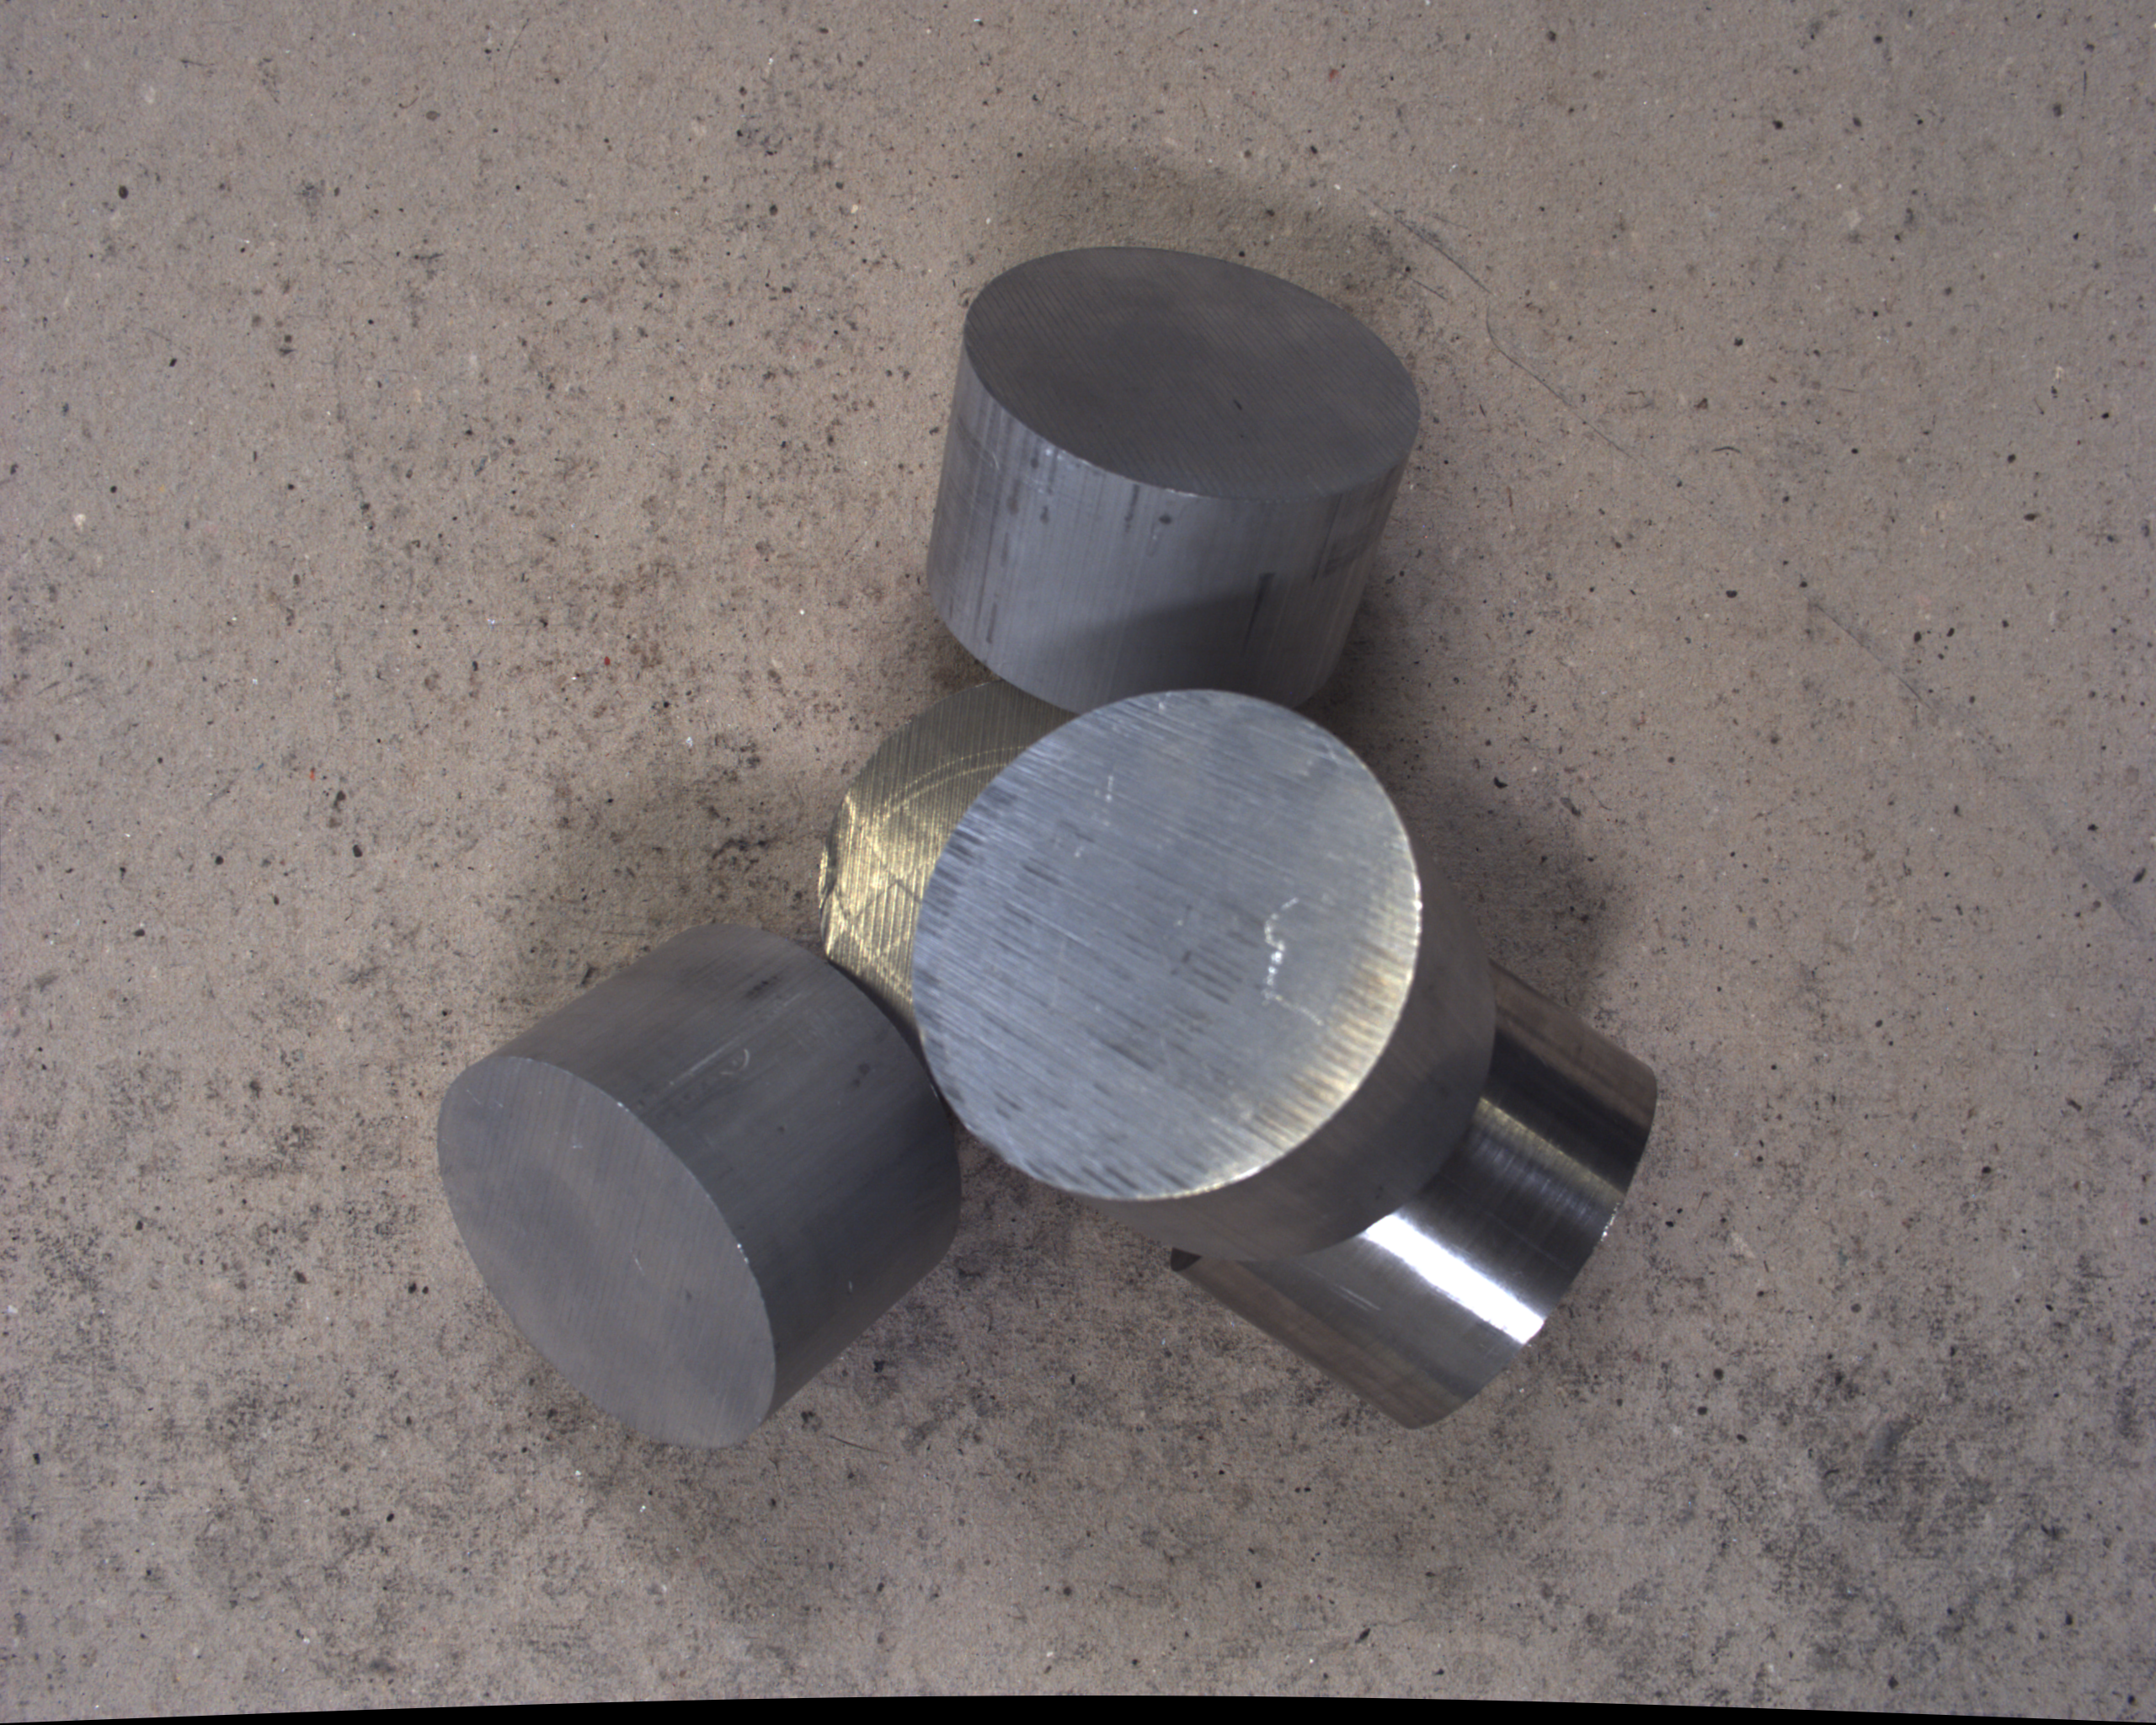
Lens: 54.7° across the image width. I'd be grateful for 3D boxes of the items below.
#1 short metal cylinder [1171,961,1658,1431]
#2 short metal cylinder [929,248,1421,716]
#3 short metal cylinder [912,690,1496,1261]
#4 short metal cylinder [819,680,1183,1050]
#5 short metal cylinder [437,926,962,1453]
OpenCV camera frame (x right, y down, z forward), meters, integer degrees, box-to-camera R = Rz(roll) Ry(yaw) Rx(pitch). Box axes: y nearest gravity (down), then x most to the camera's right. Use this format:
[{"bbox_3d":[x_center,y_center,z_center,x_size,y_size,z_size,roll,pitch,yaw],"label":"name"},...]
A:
[{"bbox_3d":[0.061,0.056,0.384,0.050,0.080,0.080,35,90,0],"label":"short metal cylinder"},{"bbox_3d":[0.016,-0.068,0.377,0.080,0.080,0.050,14,133,0],"label":"short metal cylinder"},{"bbox_3d":[0.021,0.019,0.332,0.080,0.050,0.080,-8,67,21],"label":"short metal cylinder"},{"bbox_3d":[-0.006,0.006,0.398,0.081,0.050,0.080,0,90,-1],"label":"short metal cylinder"},{"bbox_3d":[-0.068,0.058,0.377,0.080,0.050,0.079,19,125,29],"label":"short metal cylinder"}]
